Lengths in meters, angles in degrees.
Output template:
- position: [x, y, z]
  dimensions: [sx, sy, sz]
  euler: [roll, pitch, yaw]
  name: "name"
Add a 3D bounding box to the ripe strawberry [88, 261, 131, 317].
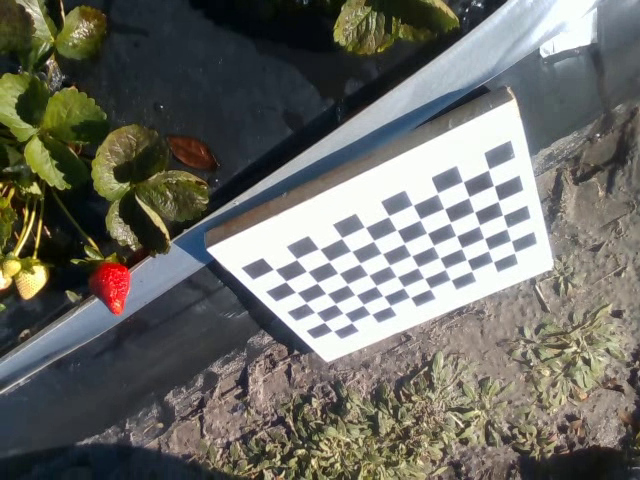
- position: [-0.156, 0.039, 0.458]
  dimensions: [0.036, 0.045, 0.038]
  euler: [-23, -25, 15]
  name: "ripe strawberry"
